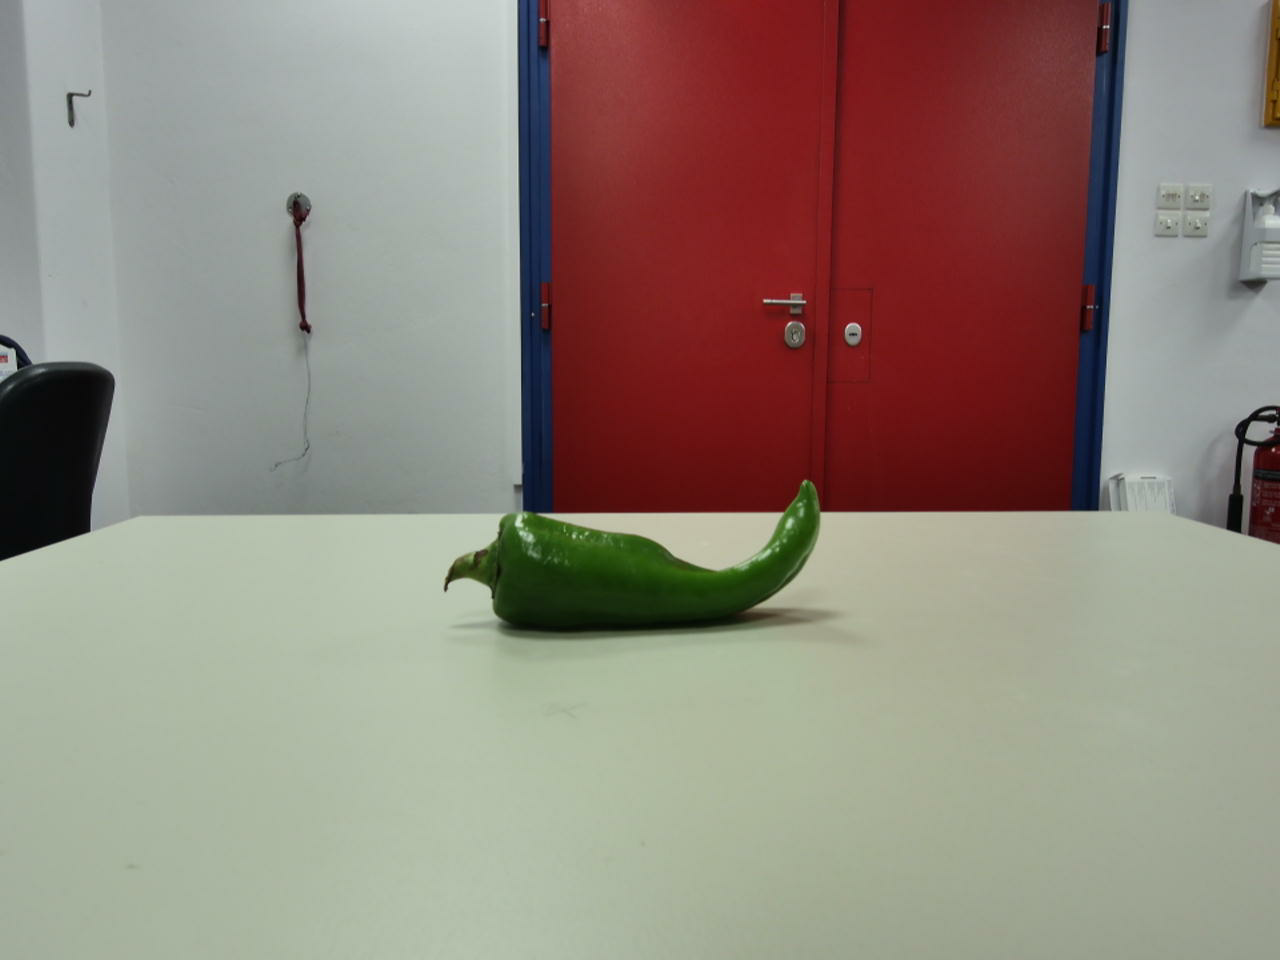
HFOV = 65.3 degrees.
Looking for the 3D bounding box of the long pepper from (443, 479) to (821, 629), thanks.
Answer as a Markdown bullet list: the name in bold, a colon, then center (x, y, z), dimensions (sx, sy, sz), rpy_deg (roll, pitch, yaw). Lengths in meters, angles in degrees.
- **long pepper**: center (-0.002, 0.034, 0.458), dimensions (0.175, 0.065, 0.058), rpy_deg (-1, 4, -2)
